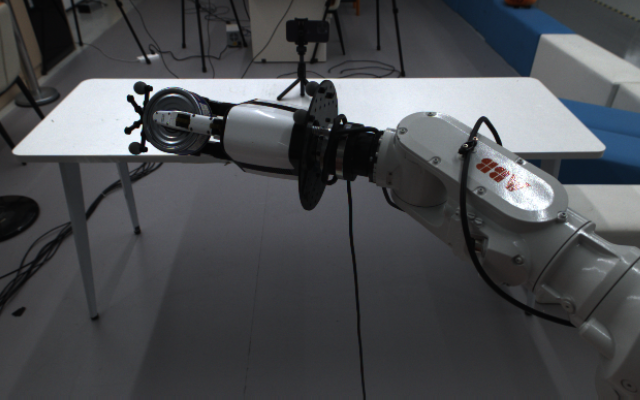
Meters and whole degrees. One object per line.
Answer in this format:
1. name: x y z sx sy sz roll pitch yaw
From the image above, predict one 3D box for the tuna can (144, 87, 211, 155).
1. tuna can: -0.182 -0.099 0.626 0.085 0.085 0.034 10 4 11
